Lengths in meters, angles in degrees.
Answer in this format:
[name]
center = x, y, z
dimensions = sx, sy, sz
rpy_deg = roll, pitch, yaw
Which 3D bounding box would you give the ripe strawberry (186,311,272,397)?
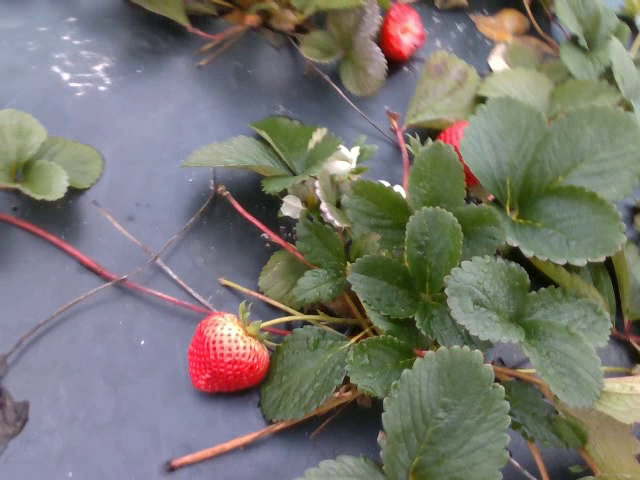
[ripe strawberry]
center = -0.069, 0.079, 0.414
dimensions = 0.061, 0.065, 0.050
rpy_deg = 35, 4, -3
